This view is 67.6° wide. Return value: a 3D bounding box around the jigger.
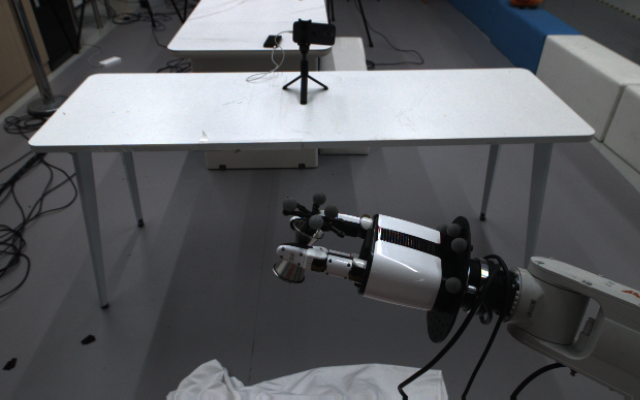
[{"bbox_3d":[-0.027,0.064,0.602,0.043,0.071,0.043,23,19,-8],"label":"jigger"}]
